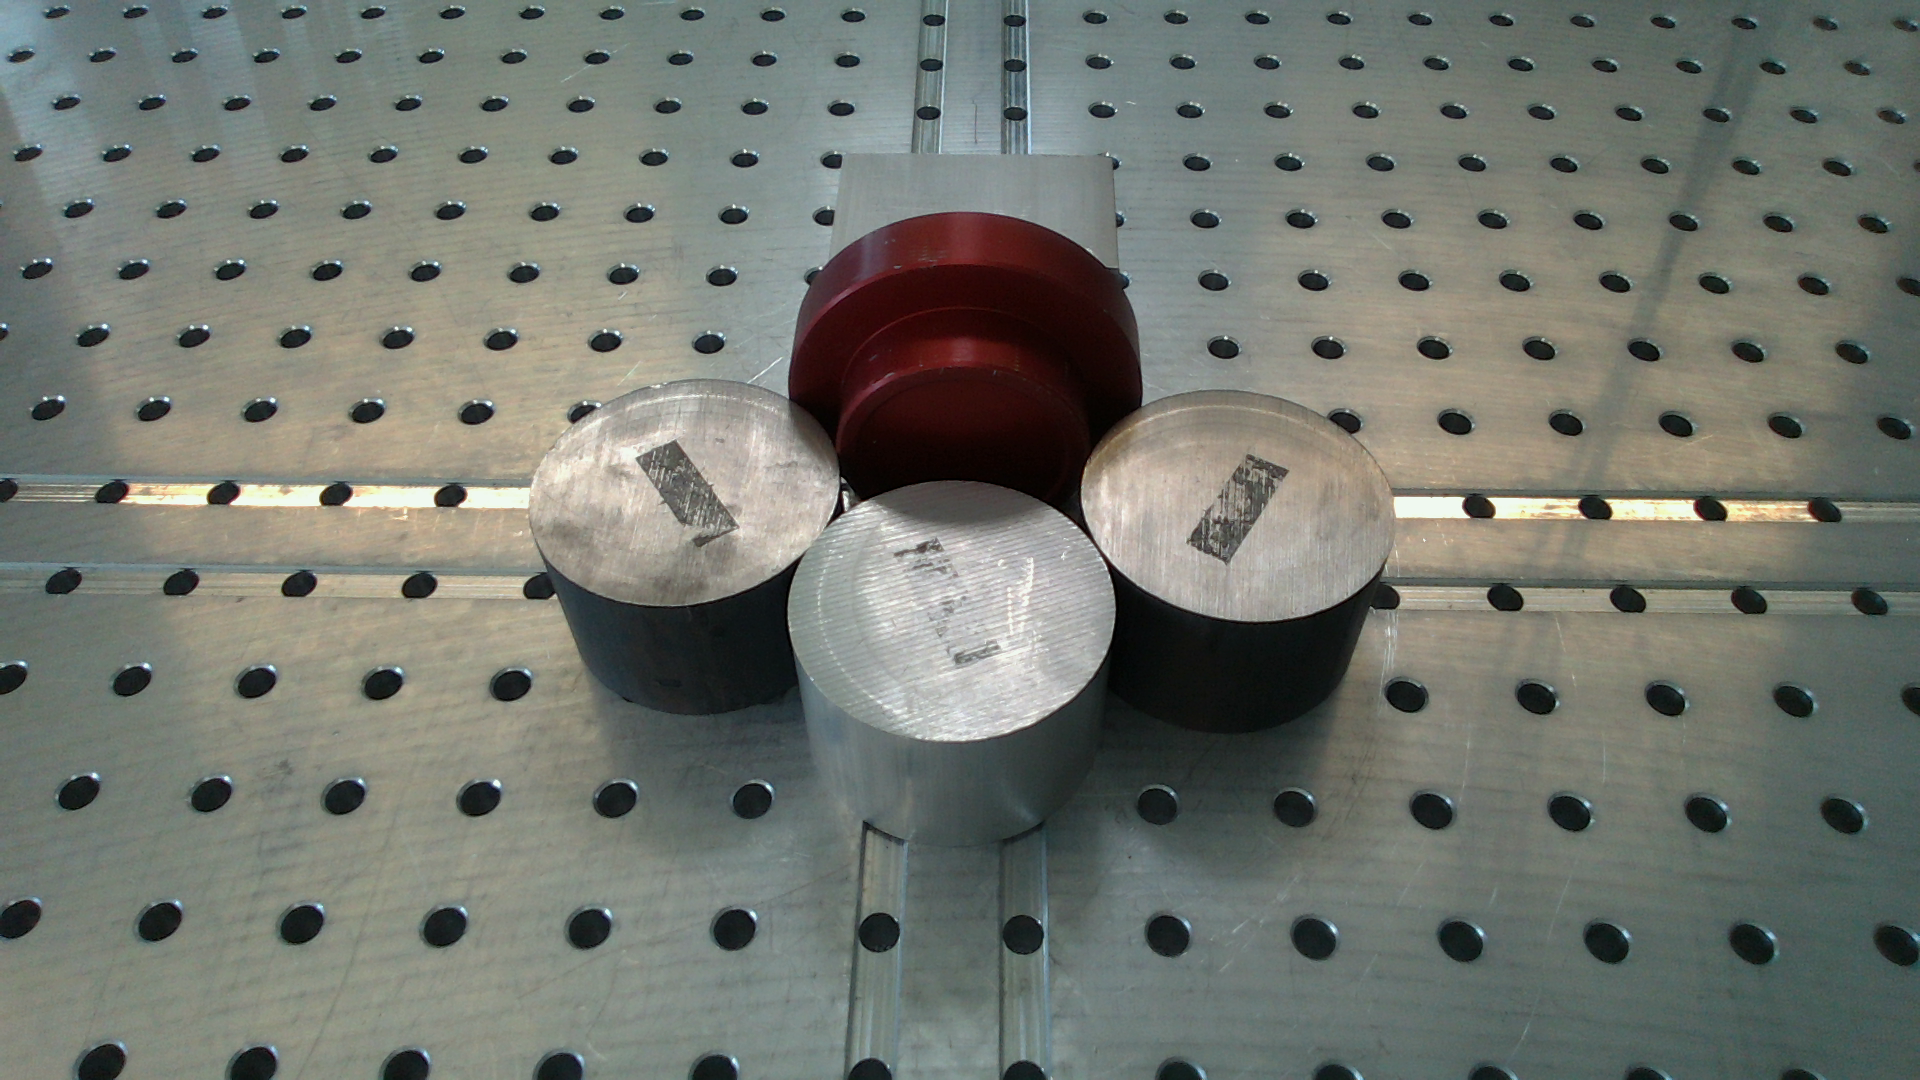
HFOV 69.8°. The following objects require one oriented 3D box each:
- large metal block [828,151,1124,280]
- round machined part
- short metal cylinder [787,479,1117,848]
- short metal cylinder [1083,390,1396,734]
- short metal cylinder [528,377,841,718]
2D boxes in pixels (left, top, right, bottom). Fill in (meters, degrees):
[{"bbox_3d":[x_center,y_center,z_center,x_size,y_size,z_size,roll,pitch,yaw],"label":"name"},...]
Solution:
[{"bbox_3d":[0.005,-0.068,0.416,0.080,0.080,0.050,1,50,1],"label":"large metal block"},{"bbox_3d":[0.001,-0.039,0.377,0.098,0.098,0.042,1,49,1],"label":"round machined part"},{"bbox_3d":[-0.002,0.031,0.353,0.080,0.050,0.080,0,50,0],"label":"short metal cylinder"},{"bbox_3d":[0.072,0.005,0.374,0.080,0.050,0.080,0,50,0],"label":"short metal cylinder"},{"bbox_3d":[-0.072,0.001,0.377,0.080,0.050,0.080,0,50,0],"label":"short metal cylinder"}]
